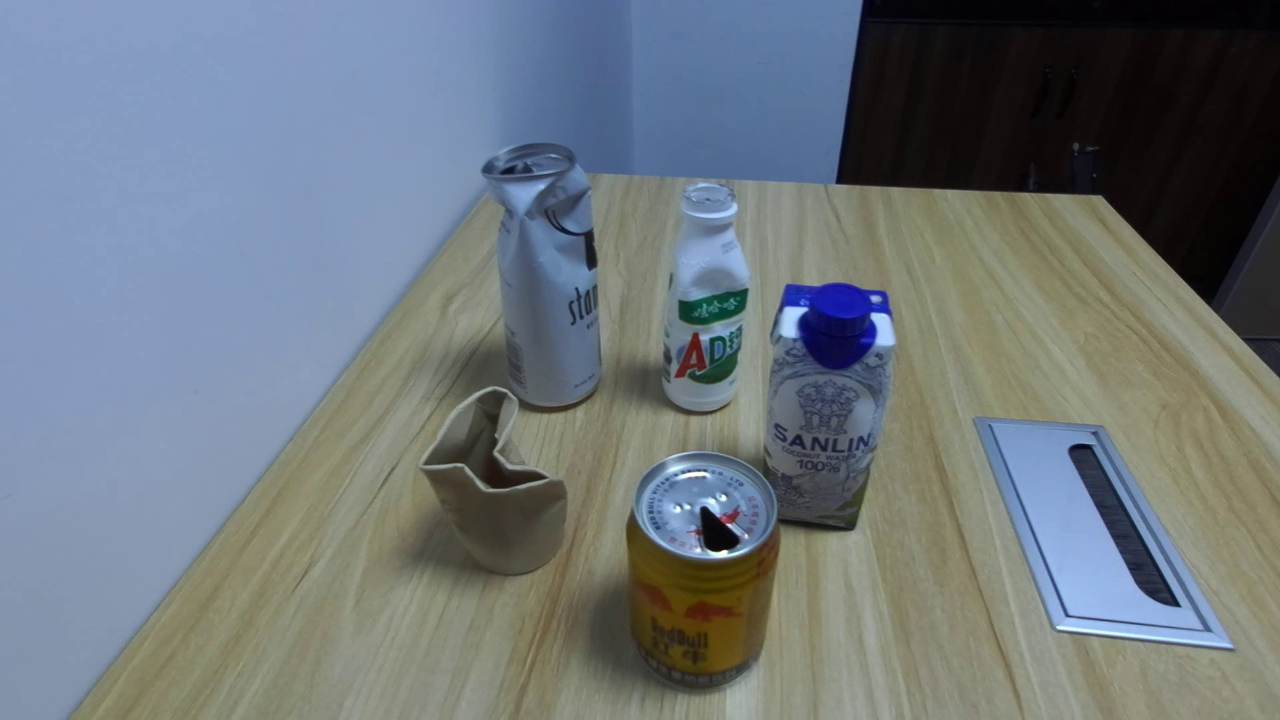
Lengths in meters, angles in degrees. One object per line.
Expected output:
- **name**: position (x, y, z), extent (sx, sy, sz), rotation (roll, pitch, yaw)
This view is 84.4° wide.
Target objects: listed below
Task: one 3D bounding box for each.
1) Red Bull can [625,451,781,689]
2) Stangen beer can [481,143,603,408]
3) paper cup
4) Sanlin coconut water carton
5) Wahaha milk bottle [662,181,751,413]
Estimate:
- **Red Bull can**: position (0.029, 0.105, 0.333), extent (0.067, 0.093, 0.067), rotation (2, 28, -1)
- **Stangen beer can**: position (-0.061, -0.049, 0.456), extent (0.065, 0.166, 0.066), rotation (27, 45, 34)
- **paper cup**: position (-0.066, 0.067, 0.366), extent (0.058, 0.083, 0.066), rotation (10, 39, 12)
- **Sanlin coconut water carton**: position (0.096, 0.021, 0.369), extent (0.060, 0.144, 0.061), rotation (5, 35, 10)
- **Wahaha milk bottle**: position (0.041, -0.038, 0.448), extent (0.055, 0.149, 0.055), rotation (0, 35, 1)
